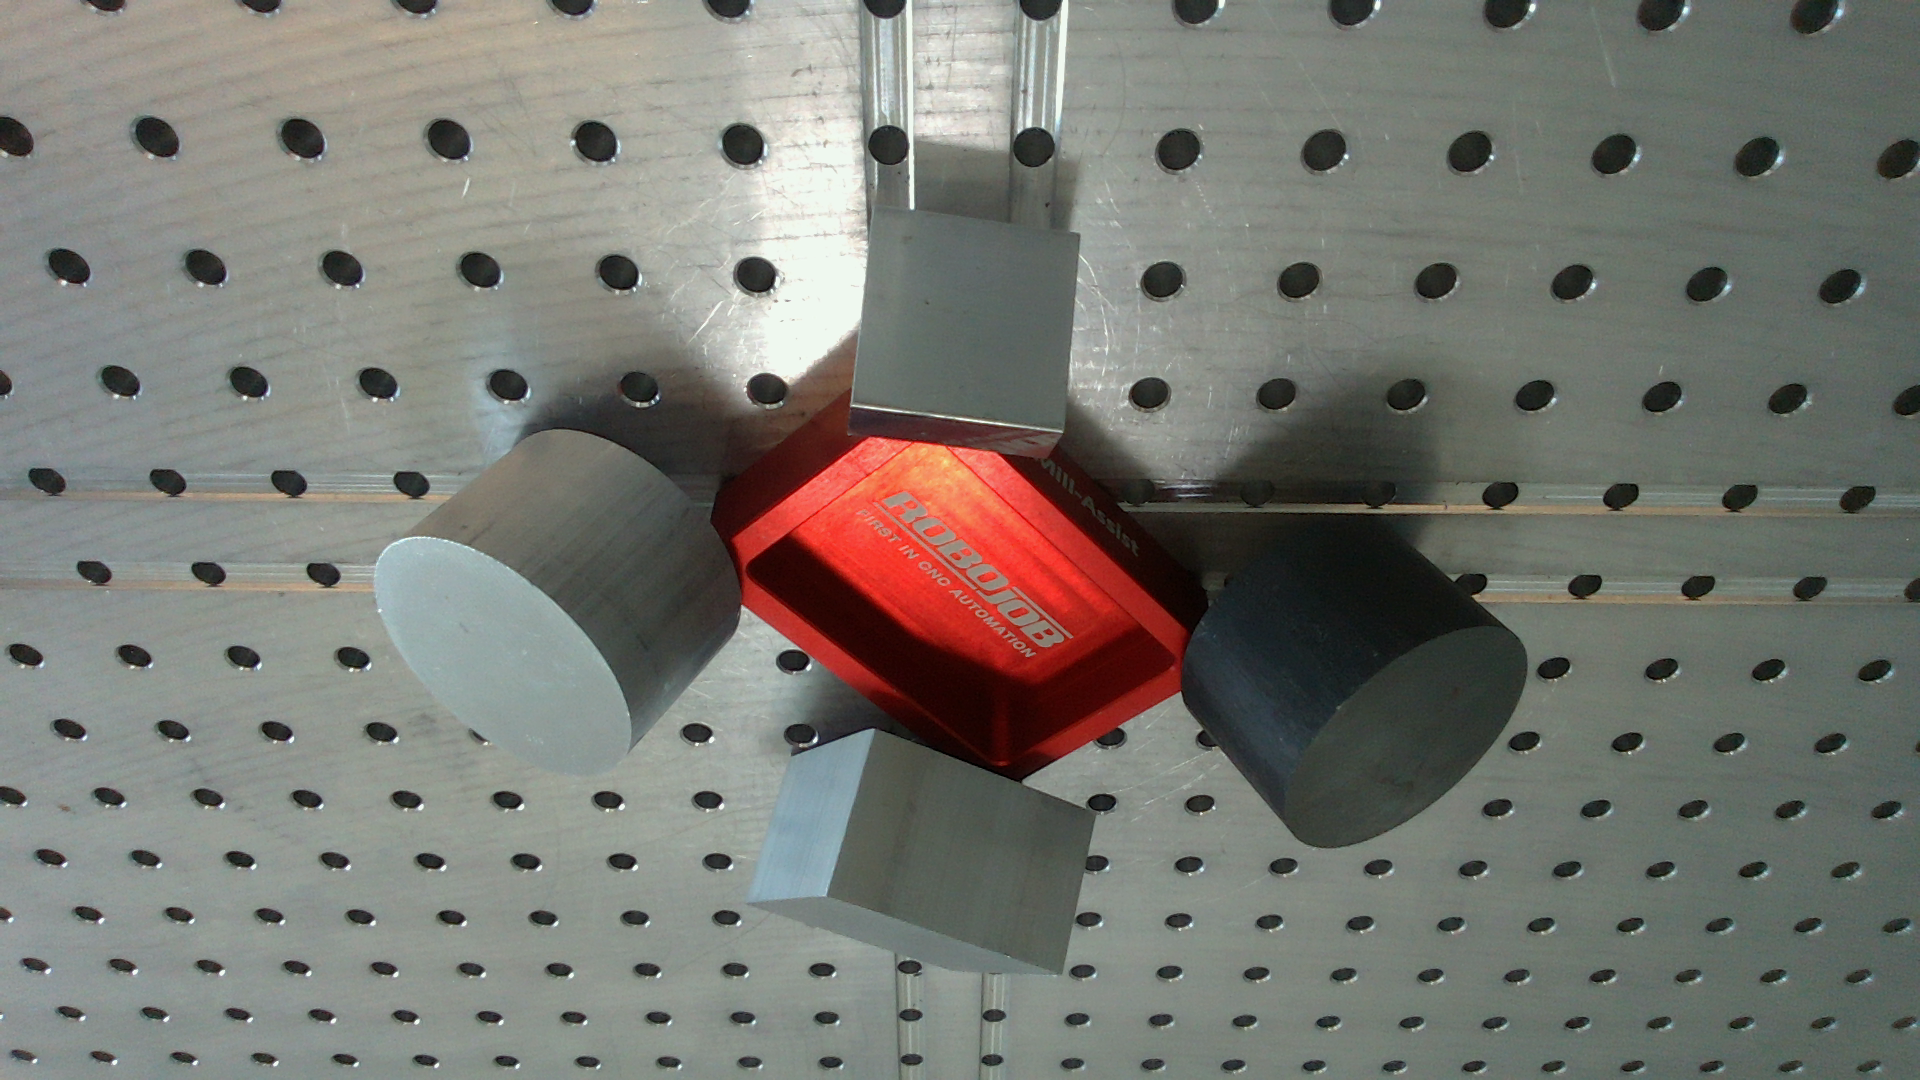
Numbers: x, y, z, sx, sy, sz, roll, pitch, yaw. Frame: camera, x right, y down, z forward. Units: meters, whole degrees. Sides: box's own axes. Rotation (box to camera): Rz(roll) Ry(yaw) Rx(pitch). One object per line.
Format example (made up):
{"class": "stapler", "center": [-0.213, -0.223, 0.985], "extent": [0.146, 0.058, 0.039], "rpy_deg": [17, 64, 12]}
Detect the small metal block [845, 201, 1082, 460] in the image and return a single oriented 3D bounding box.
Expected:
{"class": "small metal block", "center": [0.000, -0.050, 0.332], "extent": [0.050, 0.050, 0.025], "rpy_deg": [7, 168, -6]}

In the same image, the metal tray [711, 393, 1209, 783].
{"class": "metal tray", "center": [0.002, 0.013, 0.400], "extent": [0.090, 0.030, 0.130], "rpy_deg": [-34, 122, 25]}

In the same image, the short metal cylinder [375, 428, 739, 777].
{"class": "short metal cylinder", "center": [-0.107, 0.017, 0.371], "extent": [0.080, 0.050, 0.080], "rpy_deg": [17, 134, 19]}

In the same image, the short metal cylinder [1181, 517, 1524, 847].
{"class": "short metal cylinder", "center": [0.111, 0.040, 0.392], "extent": [0.080, 0.050, 0.080], "rpy_deg": [-18, 134, -20]}

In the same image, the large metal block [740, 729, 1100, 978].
{"class": "large metal block", "center": [-0.015, 0.103, 0.441], "extent": [0.080, 0.050, 0.080], "rpy_deg": [24, 156, -20]}
